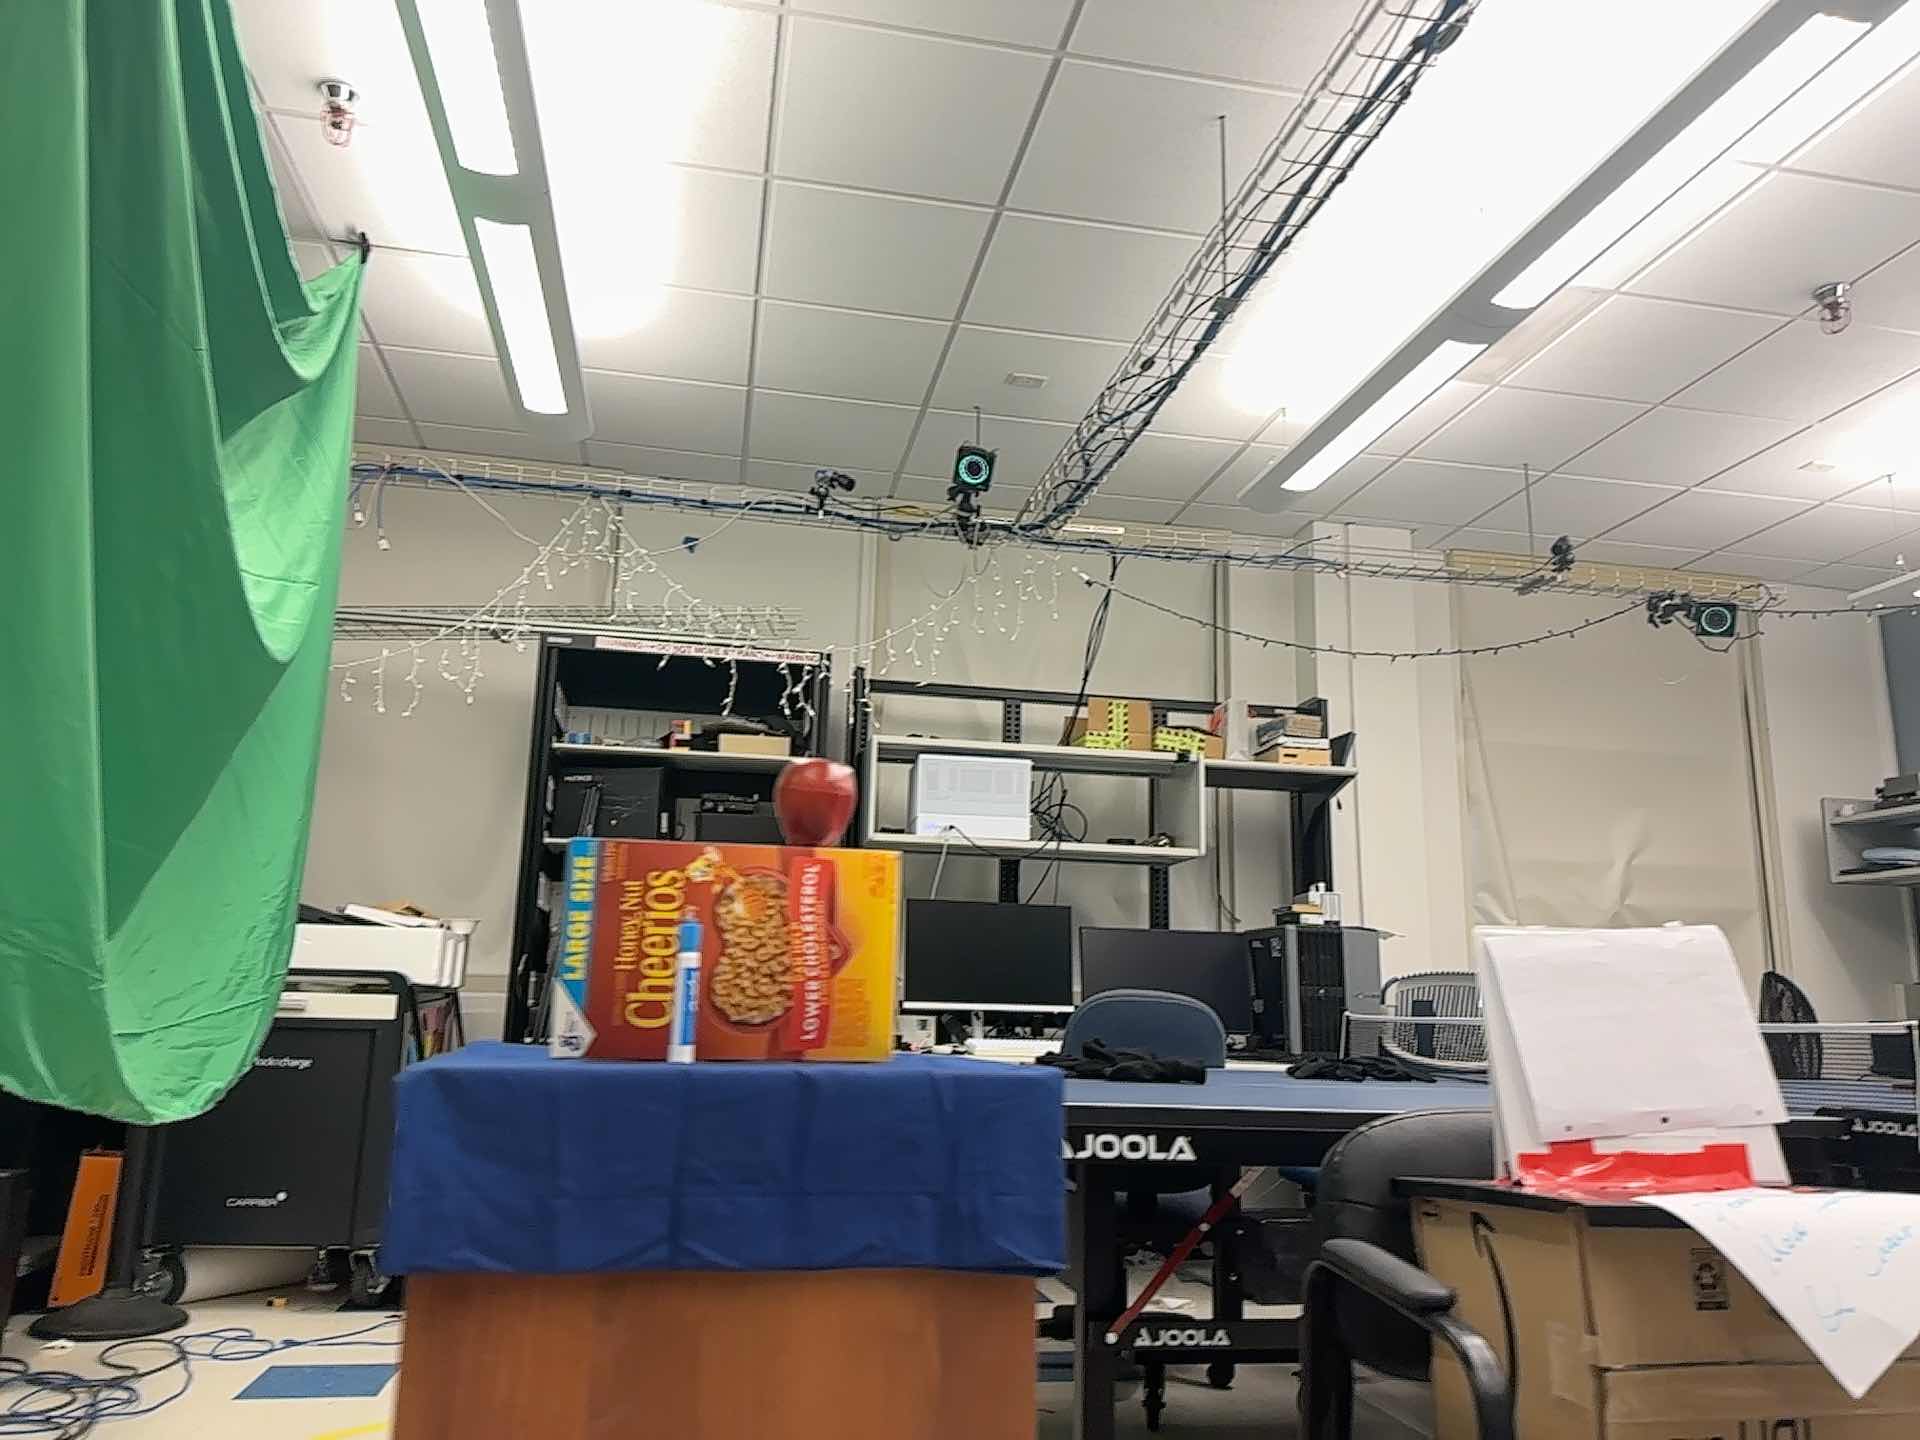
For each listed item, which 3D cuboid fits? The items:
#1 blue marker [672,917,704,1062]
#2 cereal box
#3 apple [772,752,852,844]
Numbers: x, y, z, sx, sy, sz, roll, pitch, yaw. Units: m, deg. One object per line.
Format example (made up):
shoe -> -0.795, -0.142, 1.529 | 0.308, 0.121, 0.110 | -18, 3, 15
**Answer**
blue marker -> -0.232, 0.230, 1.148 | 0.020, 0.121, 0.020 | 1, -15, 0
cereal box -> -0.210, 0.214, 1.251 | 0.297, 0.195, 0.065 | 5, -15, -11
apple -> -0.143, 0.076, 1.298 | 0.079, 0.093, 0.079 | 3, -13, 1
